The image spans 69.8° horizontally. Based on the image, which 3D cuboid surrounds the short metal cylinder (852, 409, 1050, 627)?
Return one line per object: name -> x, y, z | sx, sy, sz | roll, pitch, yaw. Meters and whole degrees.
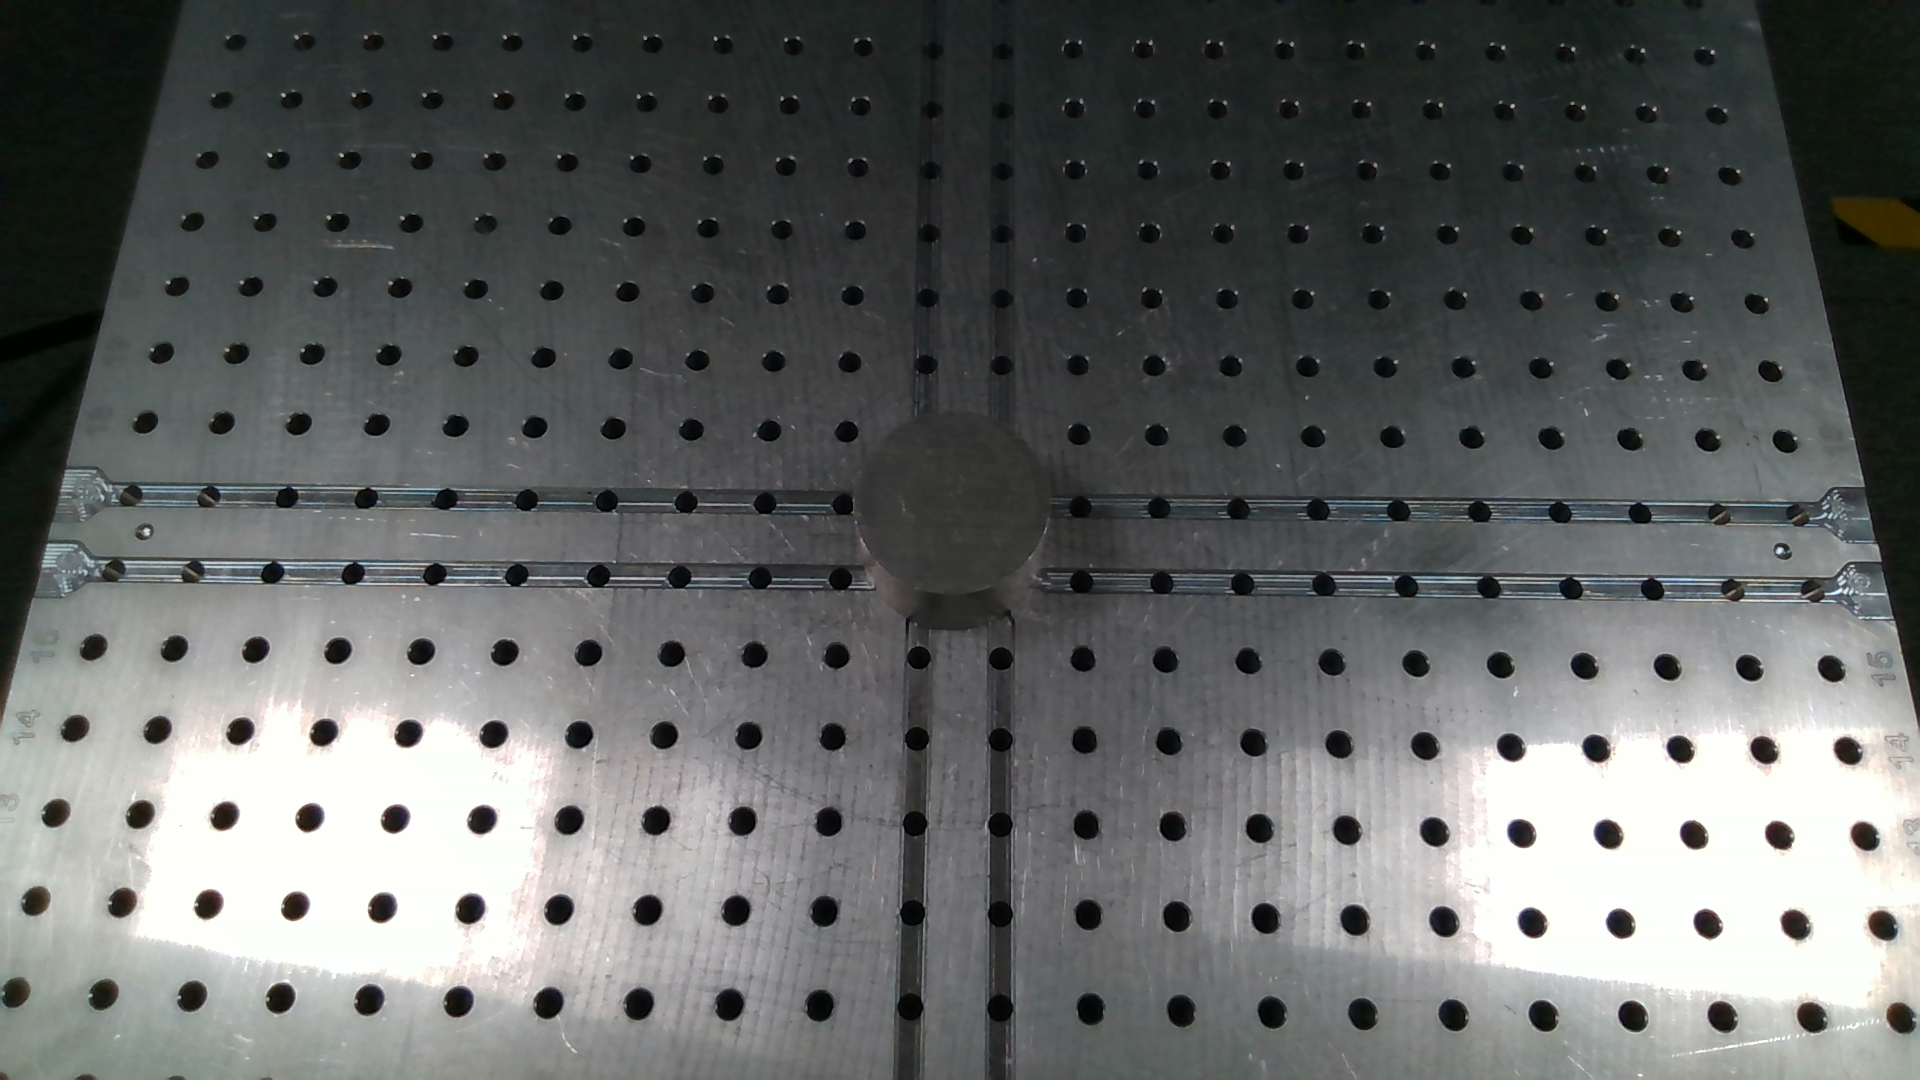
short metal cylinder -> -0.003, -0.008, 0.580 | 0.080, 0.050, 0.080 | 0, 70, 0
